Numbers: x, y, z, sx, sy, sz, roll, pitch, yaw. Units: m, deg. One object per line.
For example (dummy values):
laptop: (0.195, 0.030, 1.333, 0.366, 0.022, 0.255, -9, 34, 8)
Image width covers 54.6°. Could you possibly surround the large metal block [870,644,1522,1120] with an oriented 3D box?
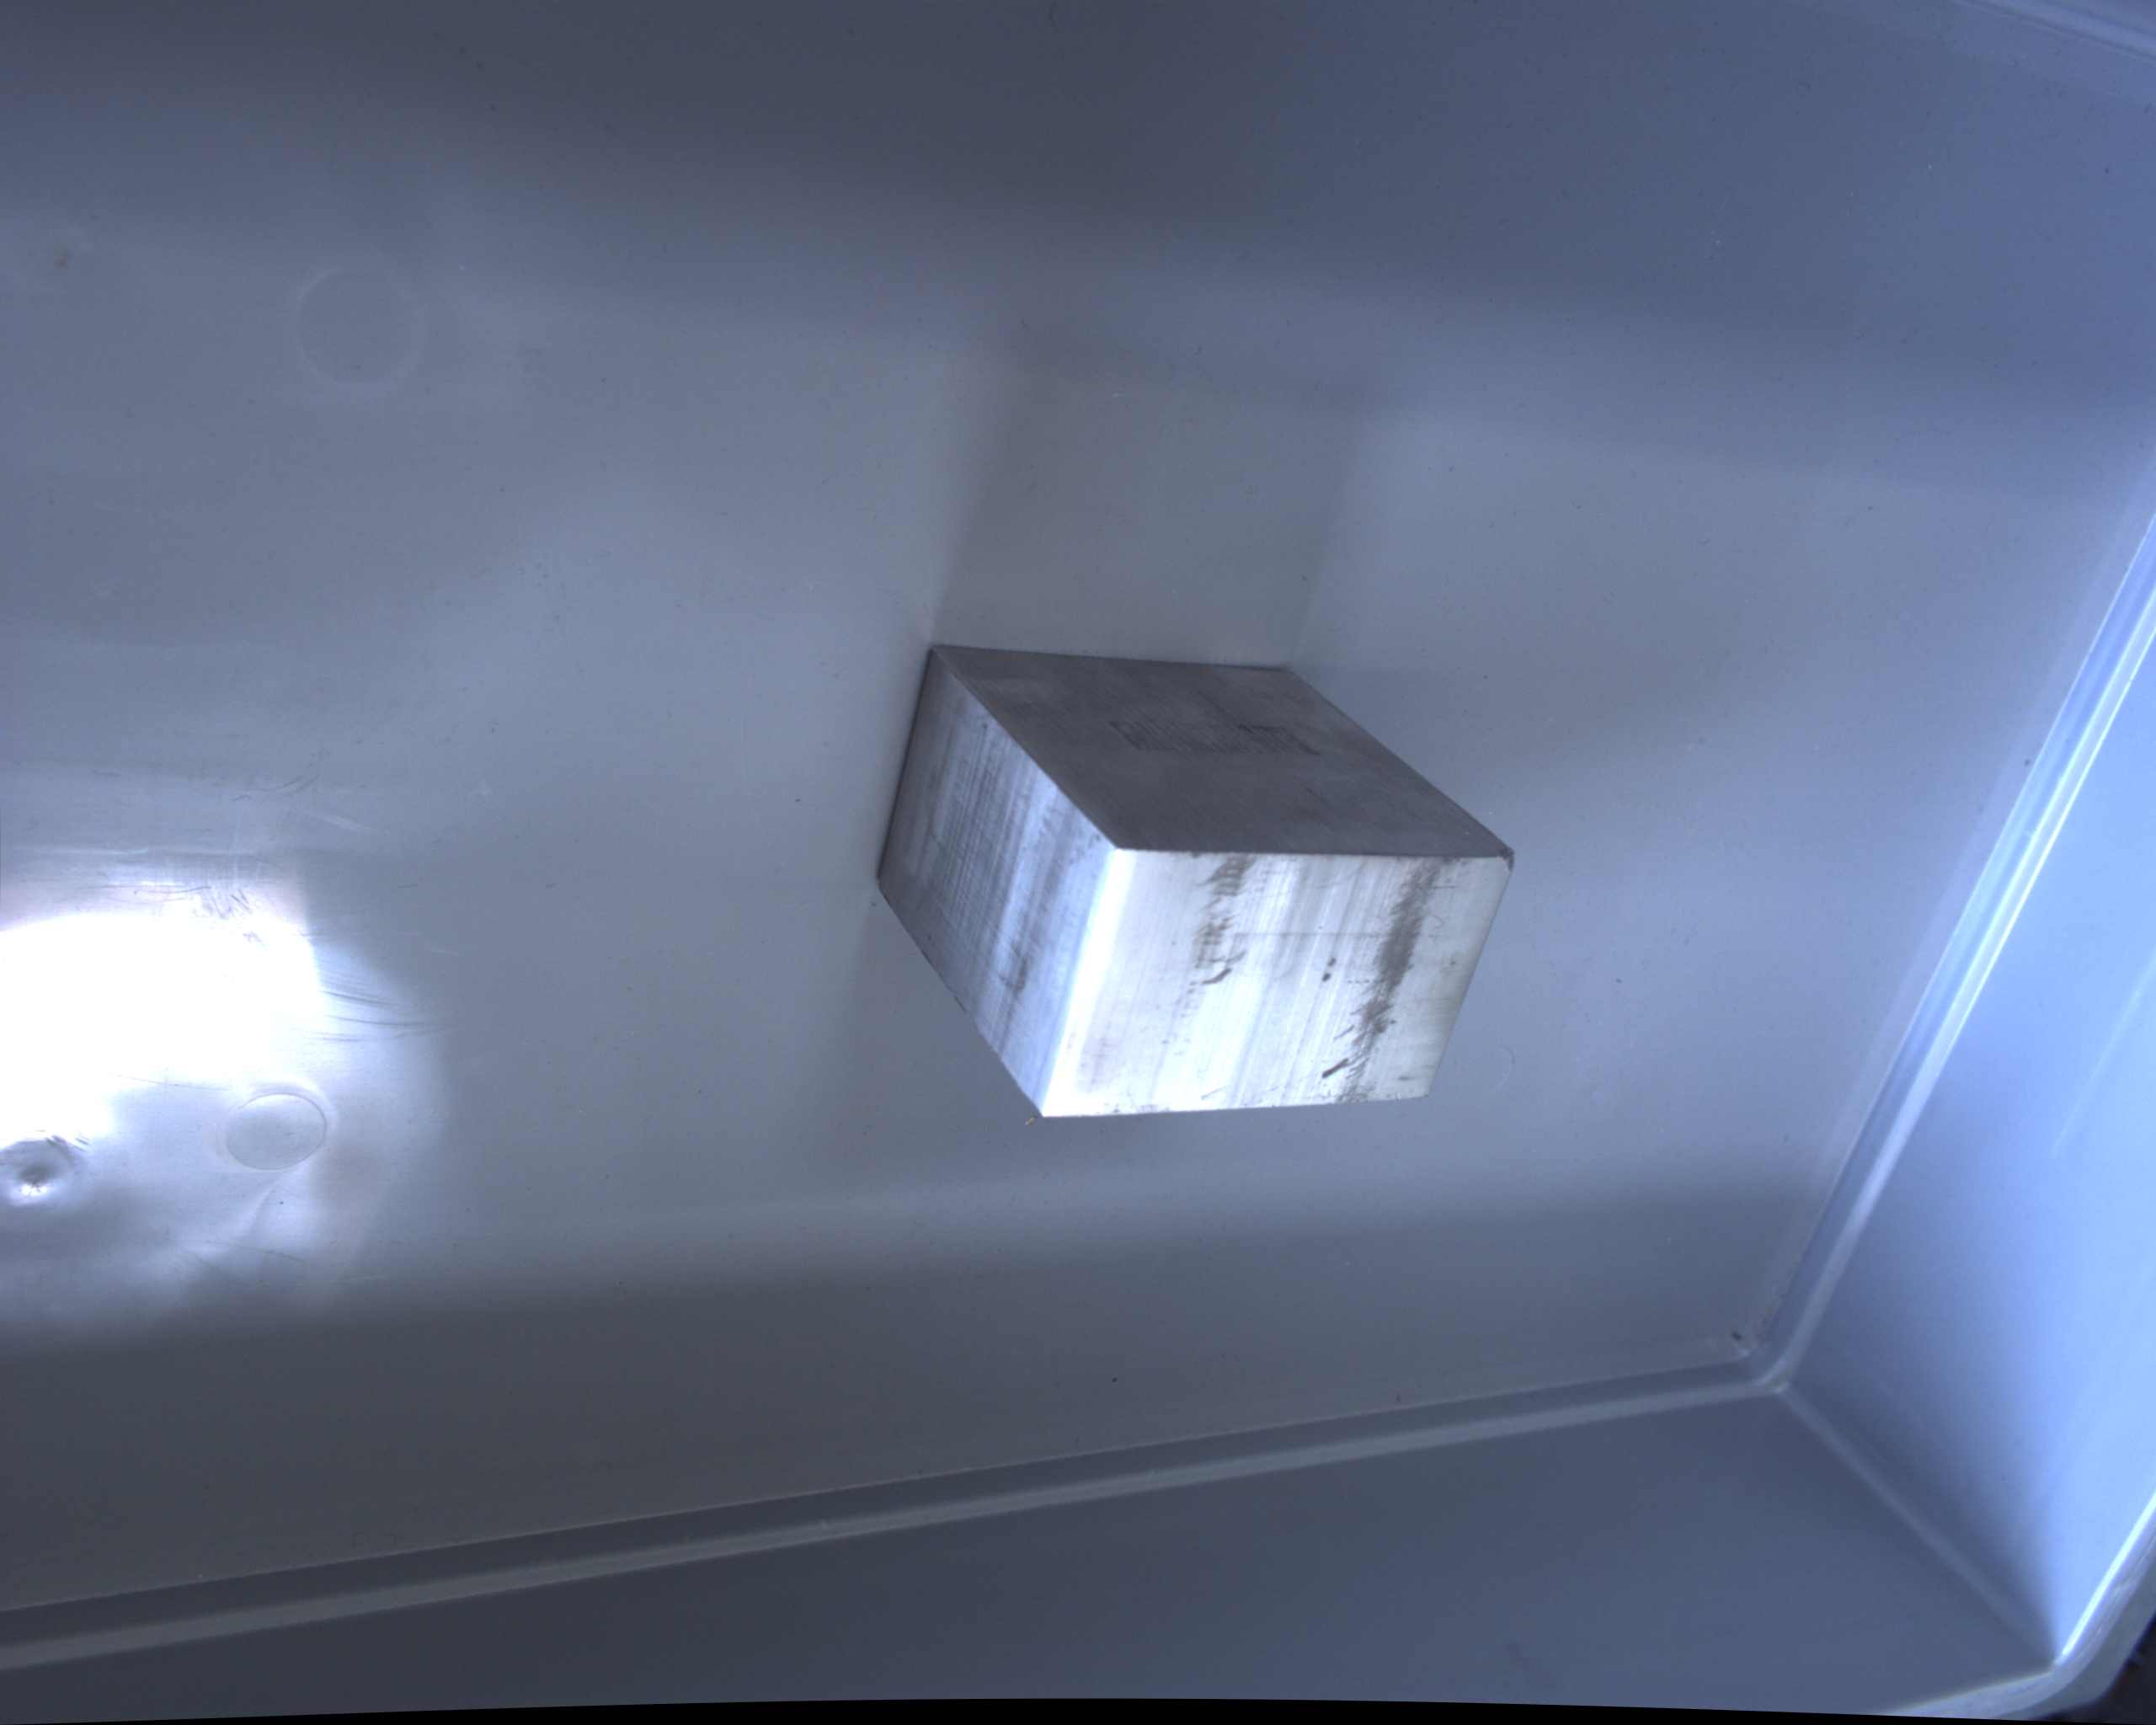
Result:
large metal block: (0.018, 0.001, 0.380, 0.081, 0.080, 0.050, 1, 118, -29)
